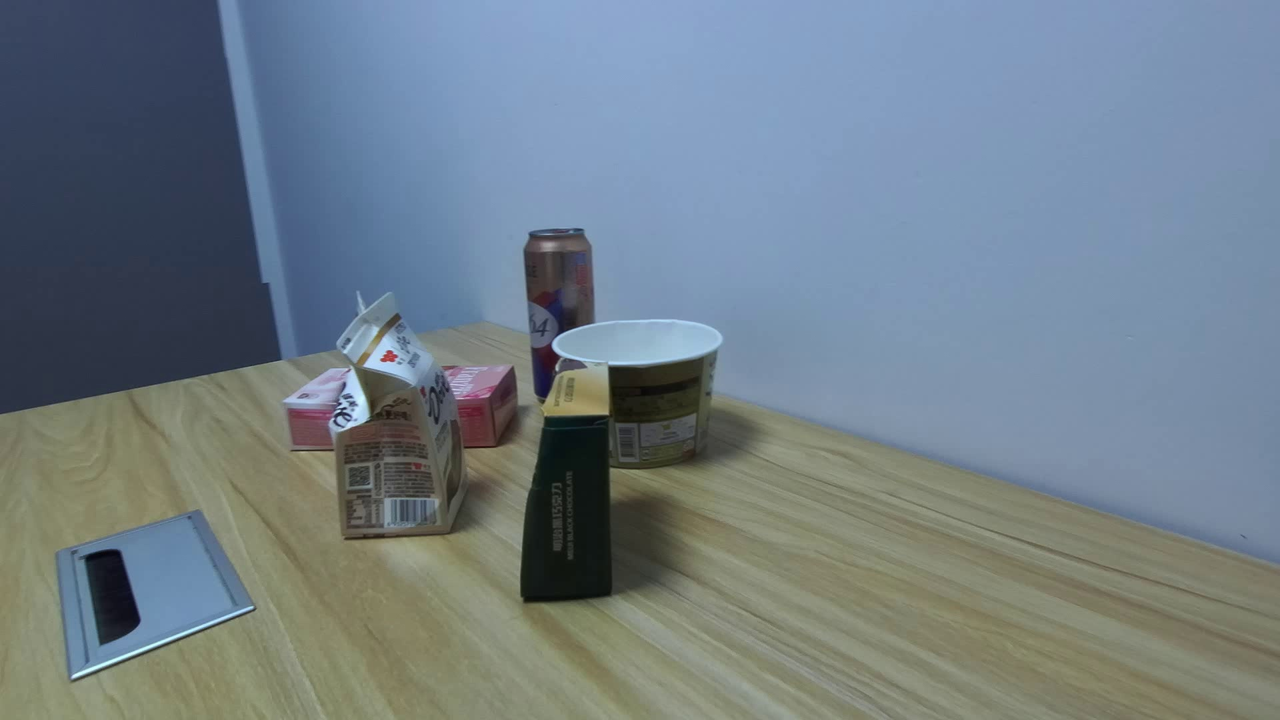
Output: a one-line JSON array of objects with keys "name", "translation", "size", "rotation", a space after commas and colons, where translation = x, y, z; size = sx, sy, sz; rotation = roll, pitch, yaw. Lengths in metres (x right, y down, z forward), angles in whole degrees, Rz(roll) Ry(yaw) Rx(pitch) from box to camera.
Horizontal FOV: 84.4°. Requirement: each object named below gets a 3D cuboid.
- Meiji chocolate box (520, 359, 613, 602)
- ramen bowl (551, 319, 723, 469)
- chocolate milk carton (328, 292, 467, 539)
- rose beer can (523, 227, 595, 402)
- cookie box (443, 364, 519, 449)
[{"name": "Meiji chocolate box", "translation": [-0.041, 0.067, 0.427], "size": [0.052, 0.117, 0.117], "rotation": [4, 16, -7]}, {"name": "ramen bowl", "translation": [0.000, 0.026, 0.589], "size": [0.140, 0.095, 0.140], "rotation": [-3, 16, 1]}, {"name": "chocolate milk carton", "translation": [-0.169, 0.034, 0.480], "size": [0.073, 0.155, 0.076], "rotation": [-4, 18, -1]}, {"name": "rose beer can", "translation": [-0.076, -0.041, 0.700], "size": [0.068, 0.169, 0.068], "rotation": [-2, 13, 1]}, {"name": "cookie box", "translation": [-0.212, 0.043, 0.638], "size": [0.187, 0.049, 0.105], "rotation": [-2, 16, 4]}]
